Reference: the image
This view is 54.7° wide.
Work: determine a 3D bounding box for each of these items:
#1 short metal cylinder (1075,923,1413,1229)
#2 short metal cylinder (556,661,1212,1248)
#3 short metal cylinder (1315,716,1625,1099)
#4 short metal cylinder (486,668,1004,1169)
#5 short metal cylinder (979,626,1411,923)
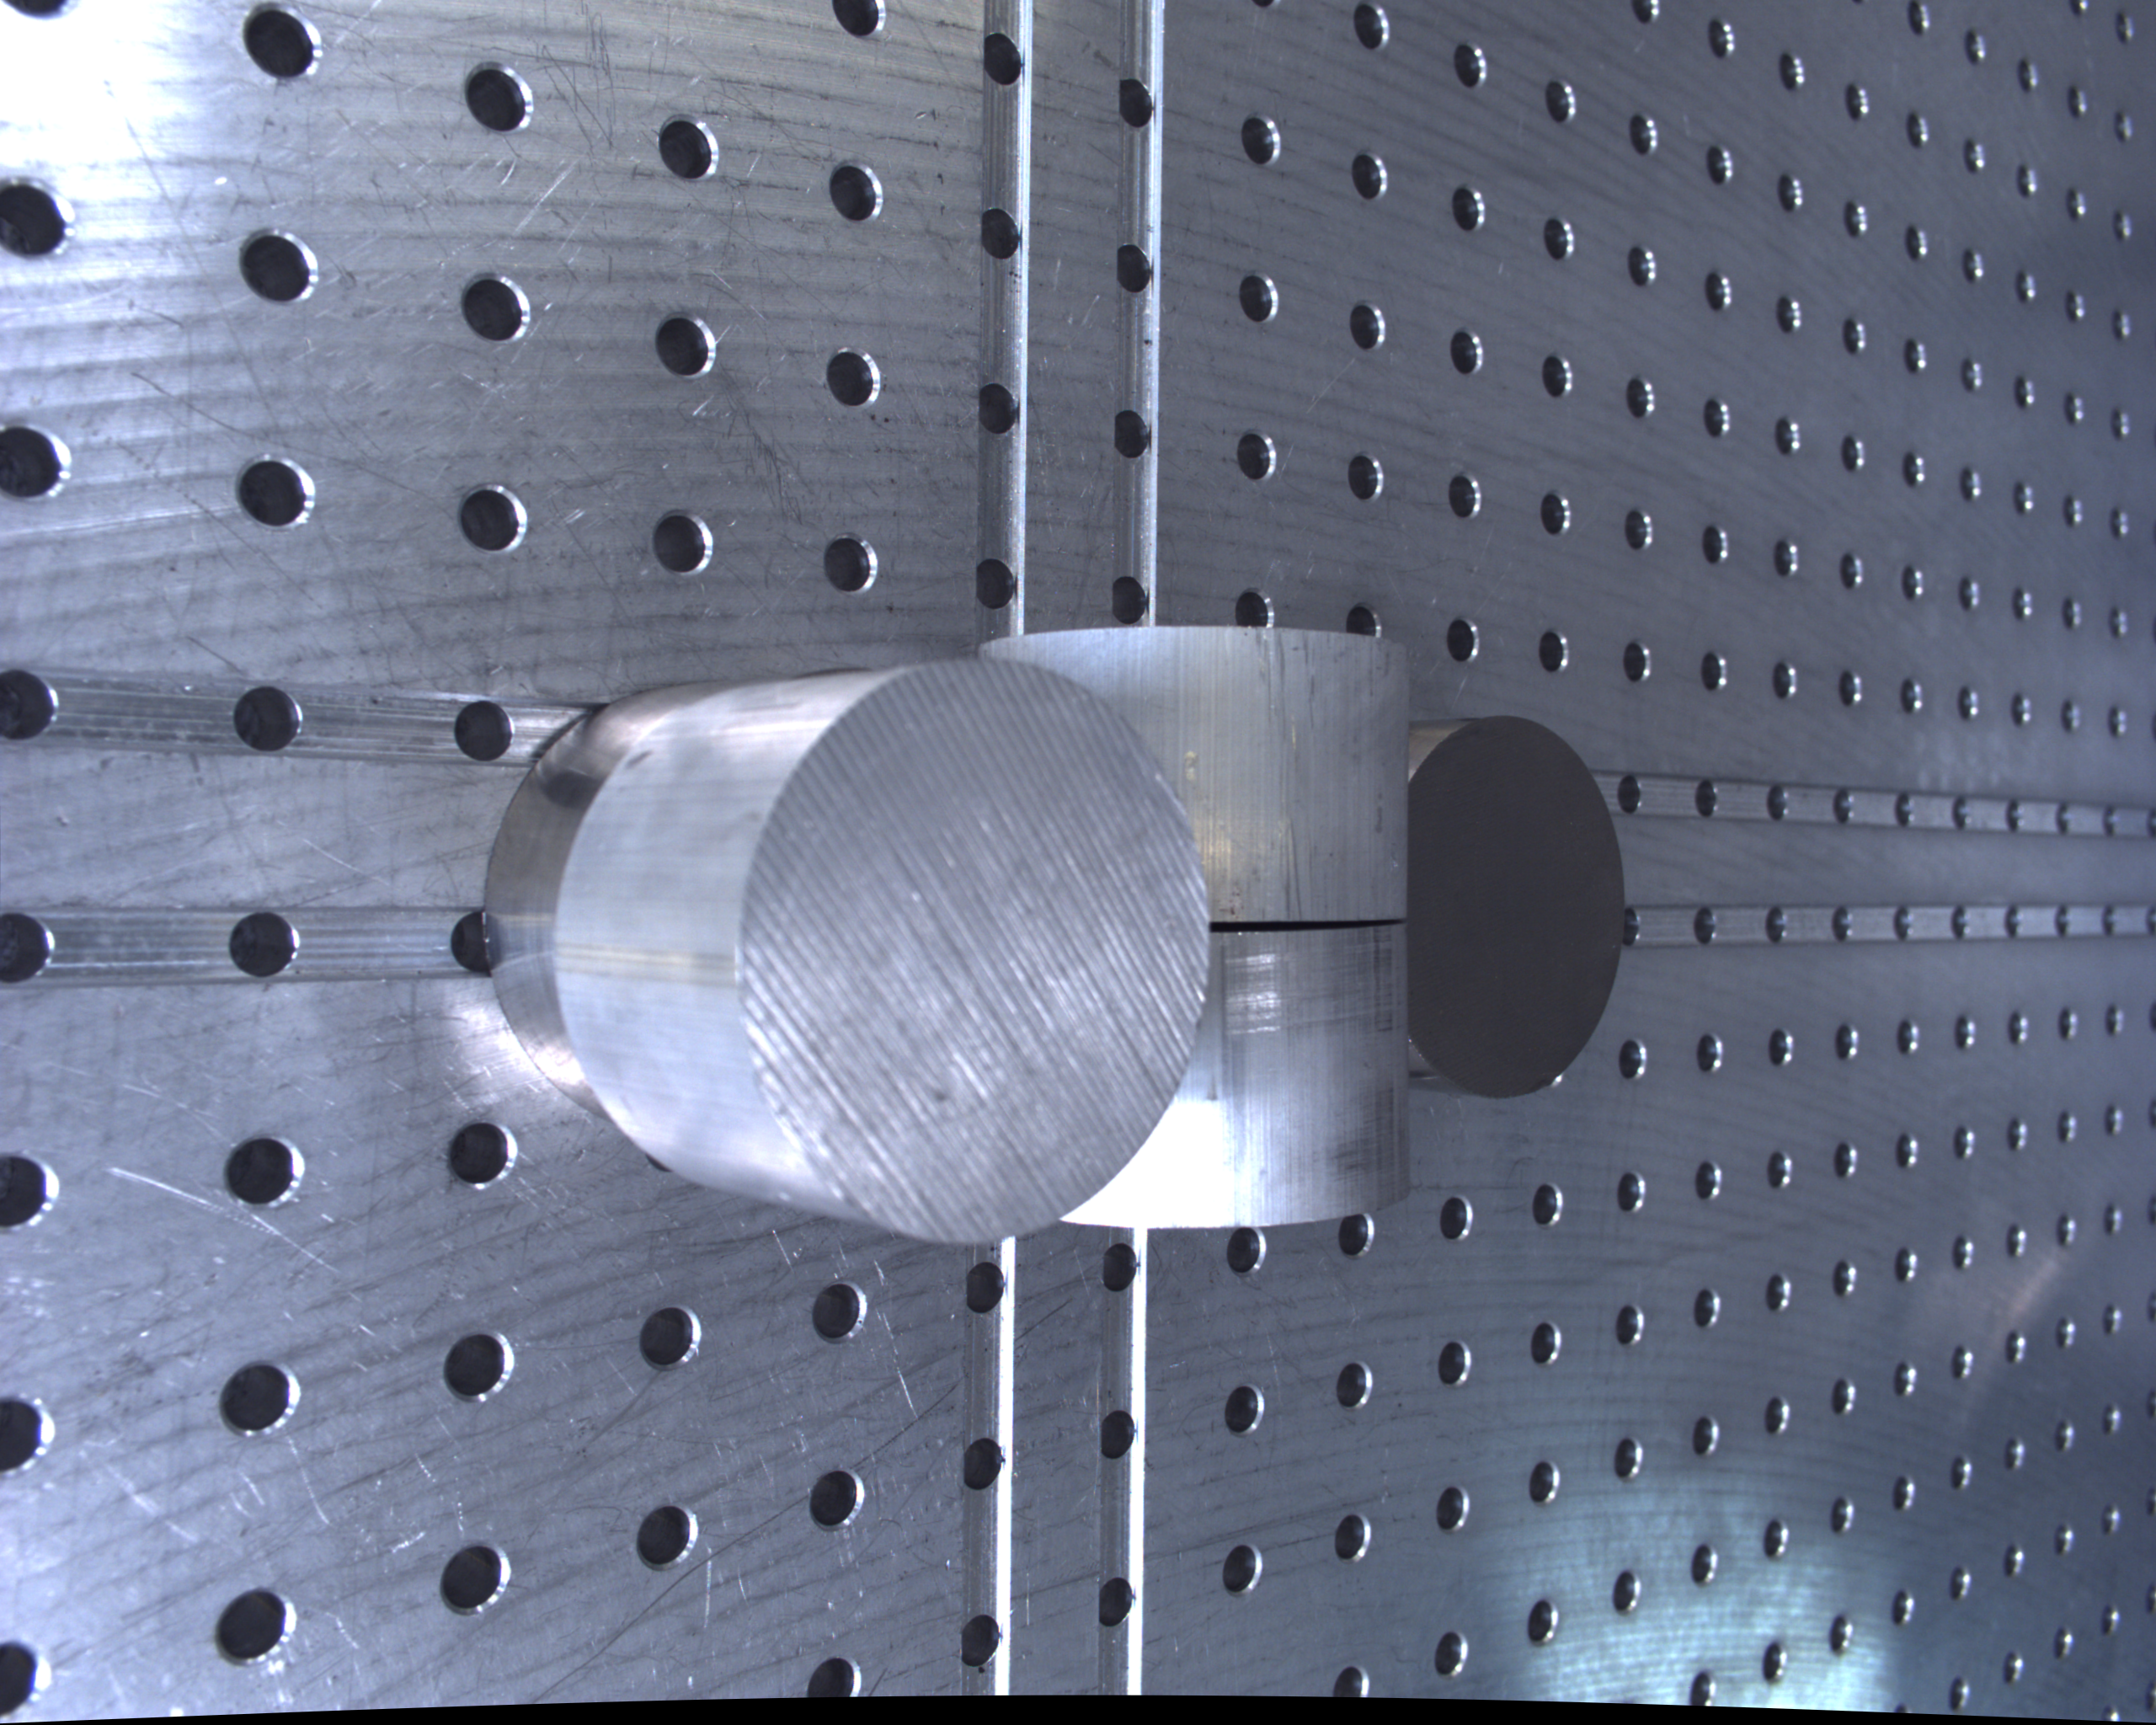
[{"bbox_3d":[0.022,0.036,0.391,0.081,0.080,0.050,-2,91,-40],"label":"short metal cylinder"},{"bbox_3d":[-0.027,0.012,0.303,0.081,0.050,0.079,0,90,-40],"label":"short metal cylinder"},{"bbox_3d":[0.074,0.009,0.453,0.081,0.050,0.079,0,90,-40],"label":"short metal cylinder"},{"bbox_3d":[-0.050,0.009,0.350,0.081,0.050,0.079,0,90,-40],"label":"short metal cylinder"},{"bbox_3d":[0.021,-0.015,0.391,0.081,0.080,0.050,1,90,-40],"label":"short metal cylinder"}]
